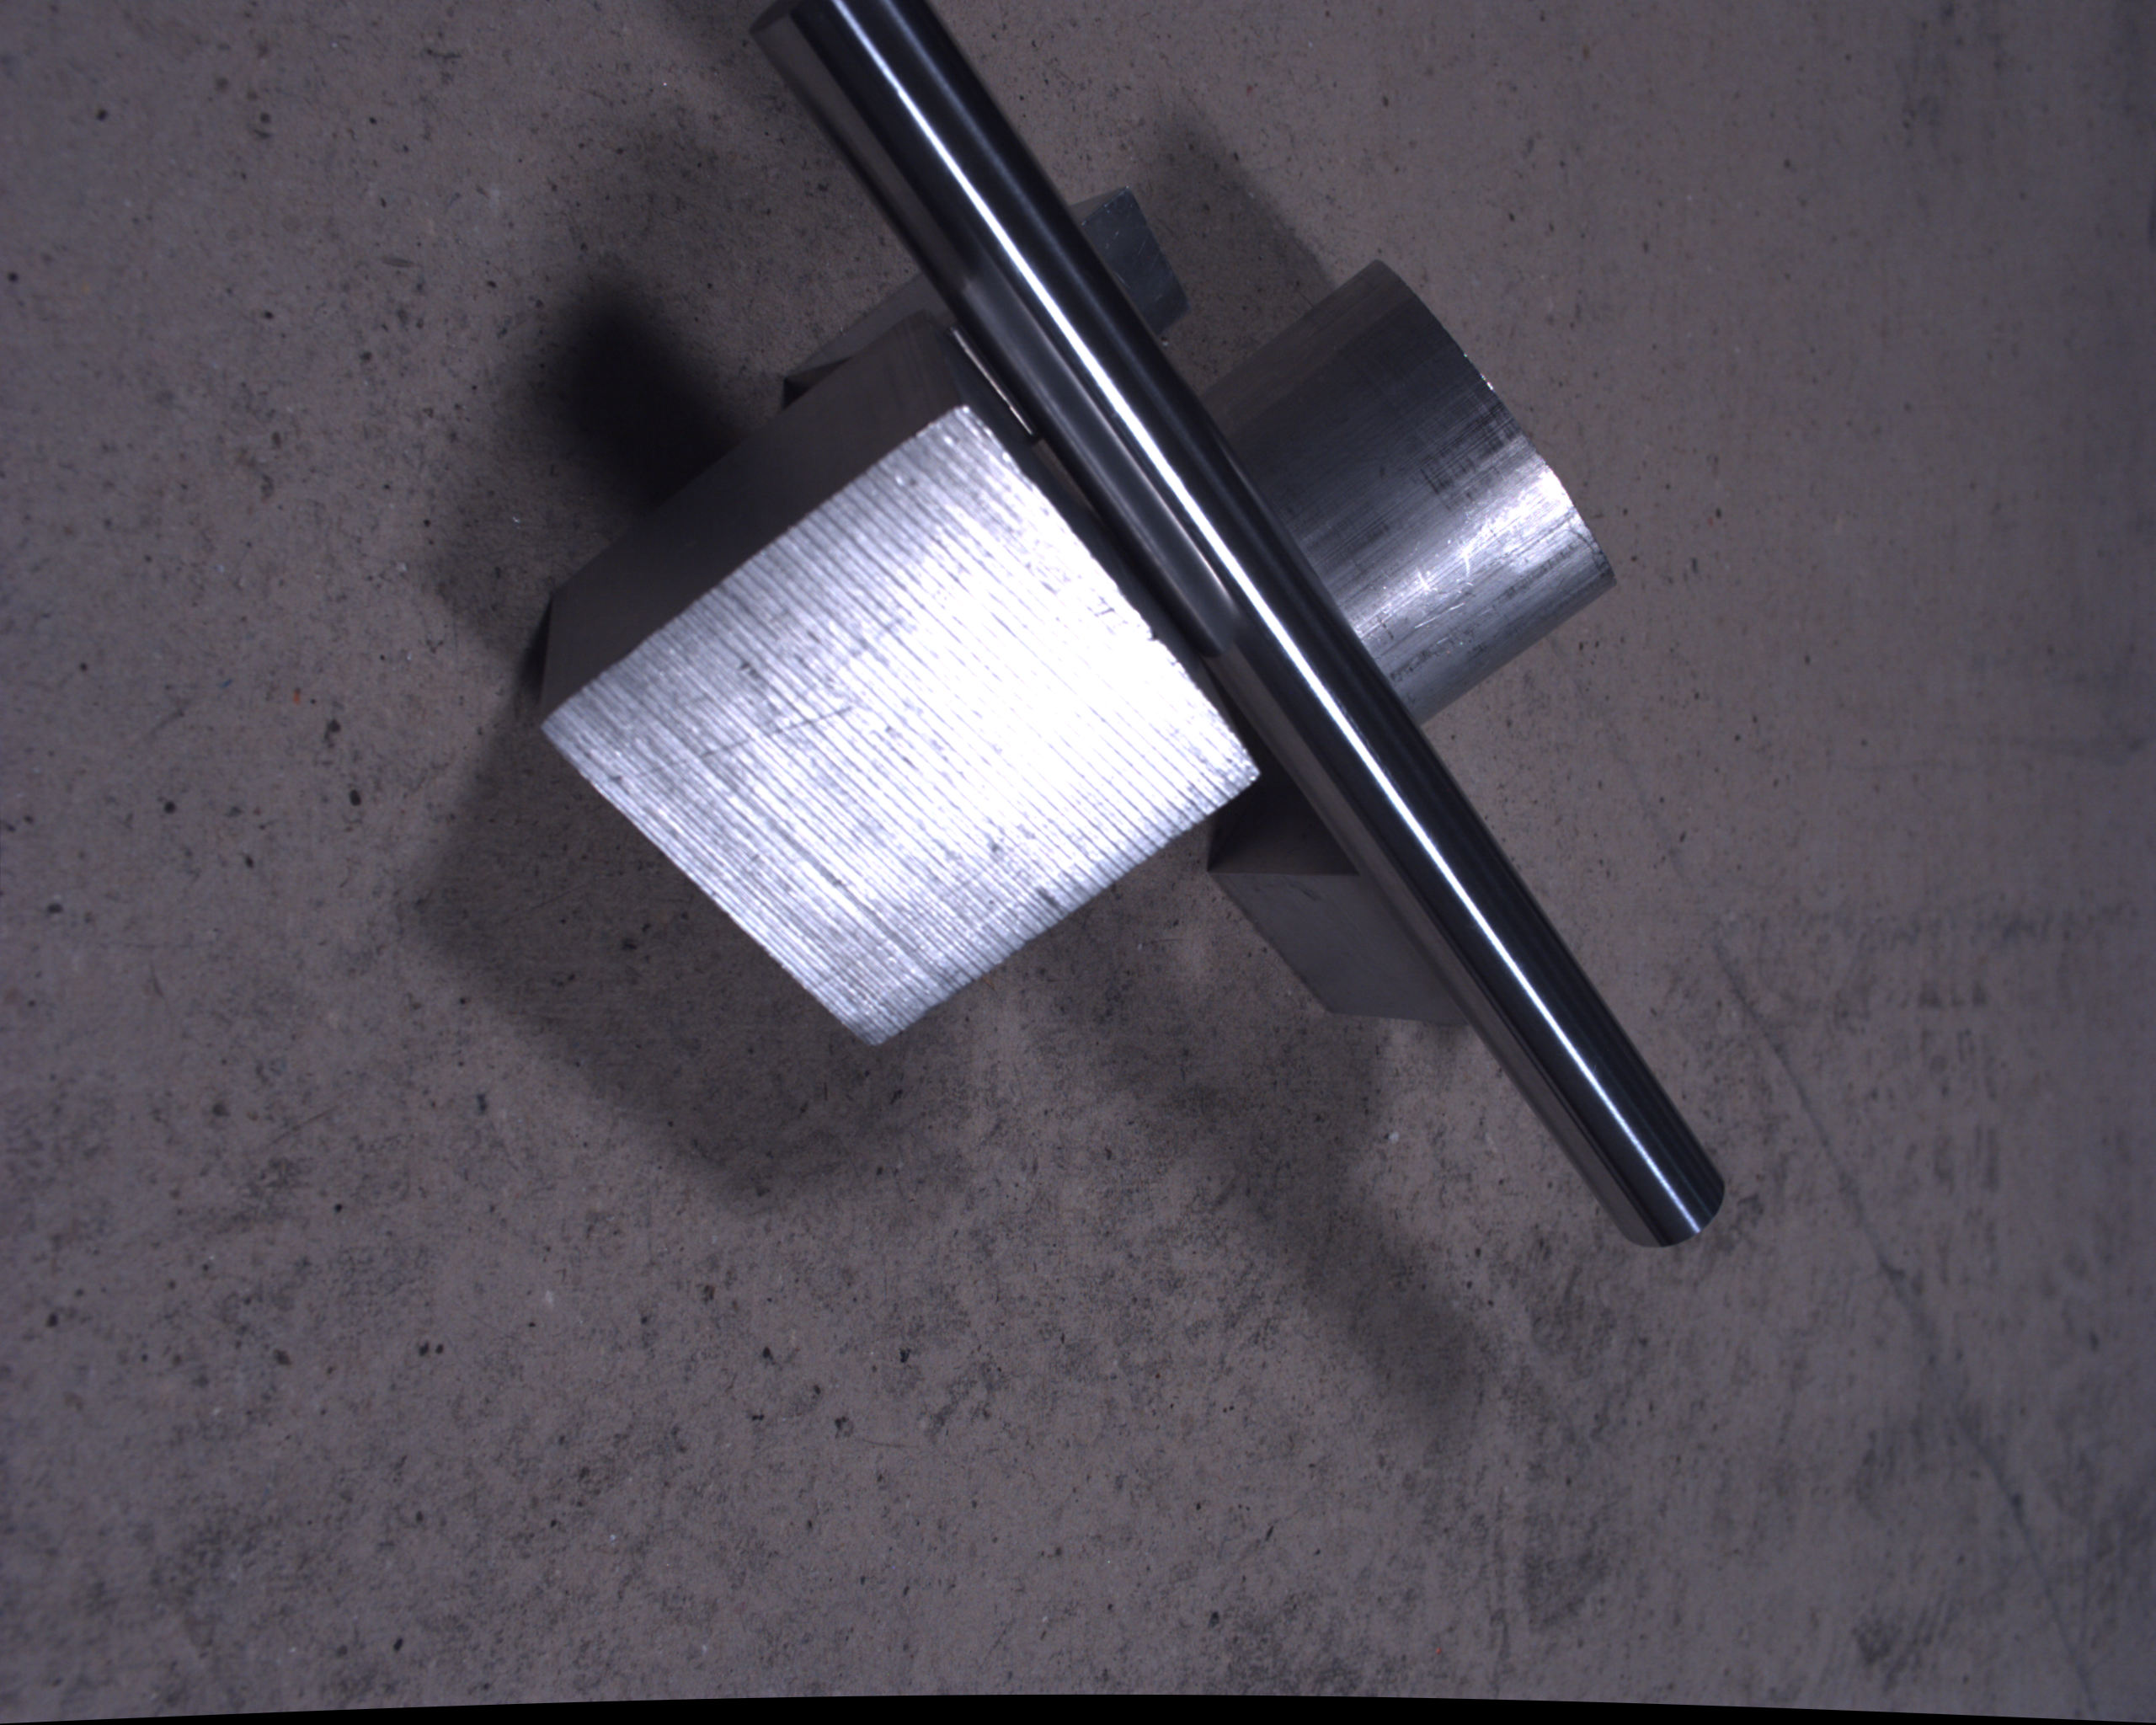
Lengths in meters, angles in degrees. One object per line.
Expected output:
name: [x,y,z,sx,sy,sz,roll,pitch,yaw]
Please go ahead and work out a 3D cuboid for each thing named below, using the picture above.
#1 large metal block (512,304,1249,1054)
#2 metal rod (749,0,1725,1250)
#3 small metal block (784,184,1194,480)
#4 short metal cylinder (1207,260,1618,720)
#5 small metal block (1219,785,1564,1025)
large metal block: [-0.032,-0.029,0.341,0.080,0.050,0.080,-36,121,10]
metal rod: [0.045,-0.029,0.381,0.300,0.025,0.025,51,60,-28]
small metal block: [-0.016,-0.094,0.378,0.050,0.050,0.025,-46,118,-30]
short metal cylinder: [0.063,-0.072,0.417,0.050,0.080,0.080,-37,121,12]
small metal block: [0.067,0.009,0.445,0.050,0.050,0.025,48,61,-30]
